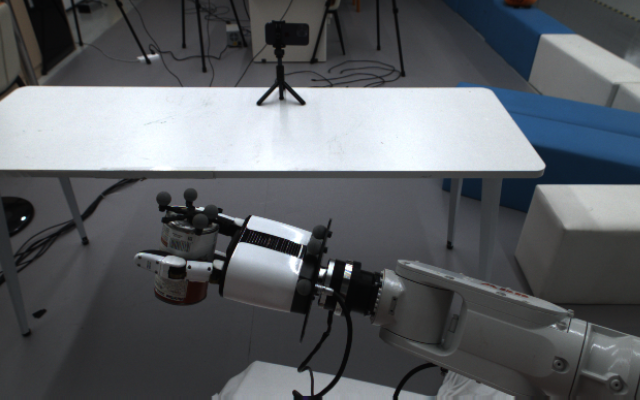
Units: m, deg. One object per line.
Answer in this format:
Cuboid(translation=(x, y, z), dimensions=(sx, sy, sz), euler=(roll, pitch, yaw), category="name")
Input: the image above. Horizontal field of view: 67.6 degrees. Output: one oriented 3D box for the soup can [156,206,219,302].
Cuboid(translation=(-0.164, 0.071, 0.600), dimensions=(0.067, 0.101, 0.067), euler=(13, 18, -4), category="soup can")
